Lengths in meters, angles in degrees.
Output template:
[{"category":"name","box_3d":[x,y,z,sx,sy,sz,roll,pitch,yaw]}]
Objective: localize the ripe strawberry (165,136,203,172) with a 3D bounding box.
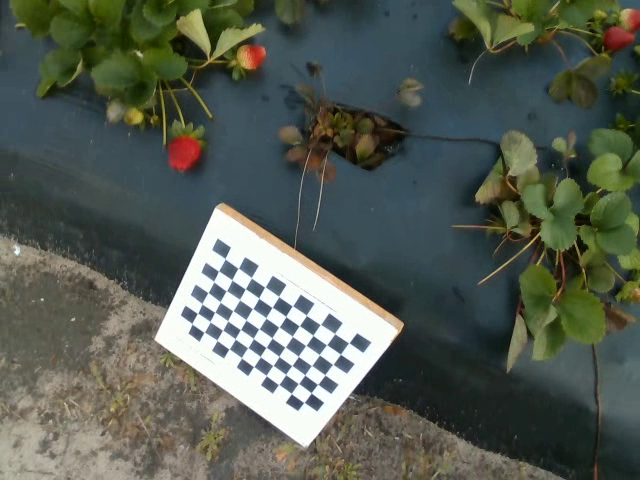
[{"category":"ripe strawberry","box_3d":[-0.176,-0.111,0.772,0.045,0.055,0.042,-11,-44,30]}]
